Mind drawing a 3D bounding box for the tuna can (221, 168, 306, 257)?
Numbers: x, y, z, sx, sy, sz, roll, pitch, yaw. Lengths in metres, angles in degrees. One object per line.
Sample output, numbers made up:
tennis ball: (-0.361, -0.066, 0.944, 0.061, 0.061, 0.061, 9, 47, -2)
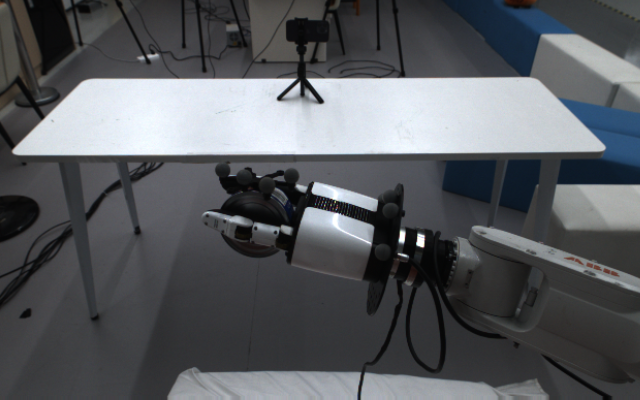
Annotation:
tuna can: (-0.071, 0.024, 0.571, 0.085, 0.085, 0.034, 6, 22, 6)
